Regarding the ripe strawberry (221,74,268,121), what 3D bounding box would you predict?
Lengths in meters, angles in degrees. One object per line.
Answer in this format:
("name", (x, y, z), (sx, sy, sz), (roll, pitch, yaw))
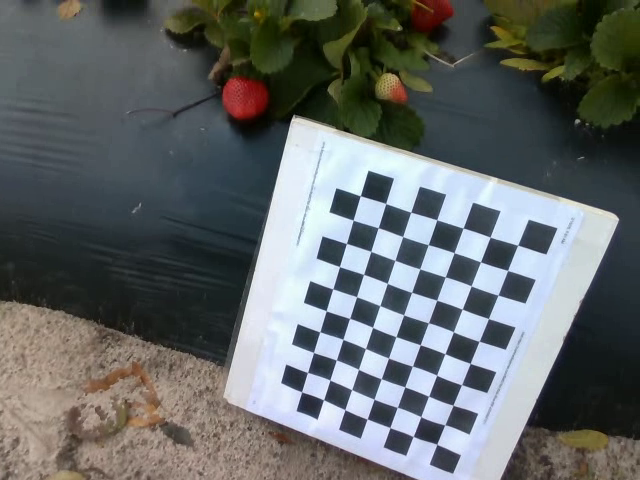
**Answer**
("ripe strawberry", (-0.062, -0.105, 0.431), (0.037, 0.046, 0.036), (-26, -44, 25))
